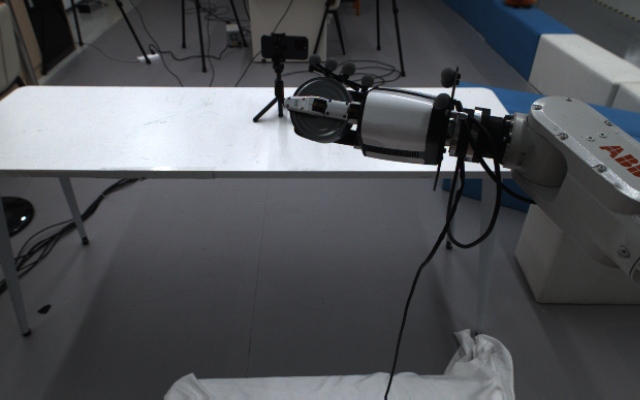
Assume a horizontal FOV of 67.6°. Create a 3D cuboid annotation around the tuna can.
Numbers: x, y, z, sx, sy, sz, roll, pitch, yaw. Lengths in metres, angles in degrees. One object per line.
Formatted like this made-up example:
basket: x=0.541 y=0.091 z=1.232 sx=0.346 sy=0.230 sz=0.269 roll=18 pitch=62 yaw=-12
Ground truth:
tuna can: x=0.005 y=-0.121 z=0.656 sx=0.085 sy=0.085 sz=0.034 roll=13 pitch=3 yaw=16
